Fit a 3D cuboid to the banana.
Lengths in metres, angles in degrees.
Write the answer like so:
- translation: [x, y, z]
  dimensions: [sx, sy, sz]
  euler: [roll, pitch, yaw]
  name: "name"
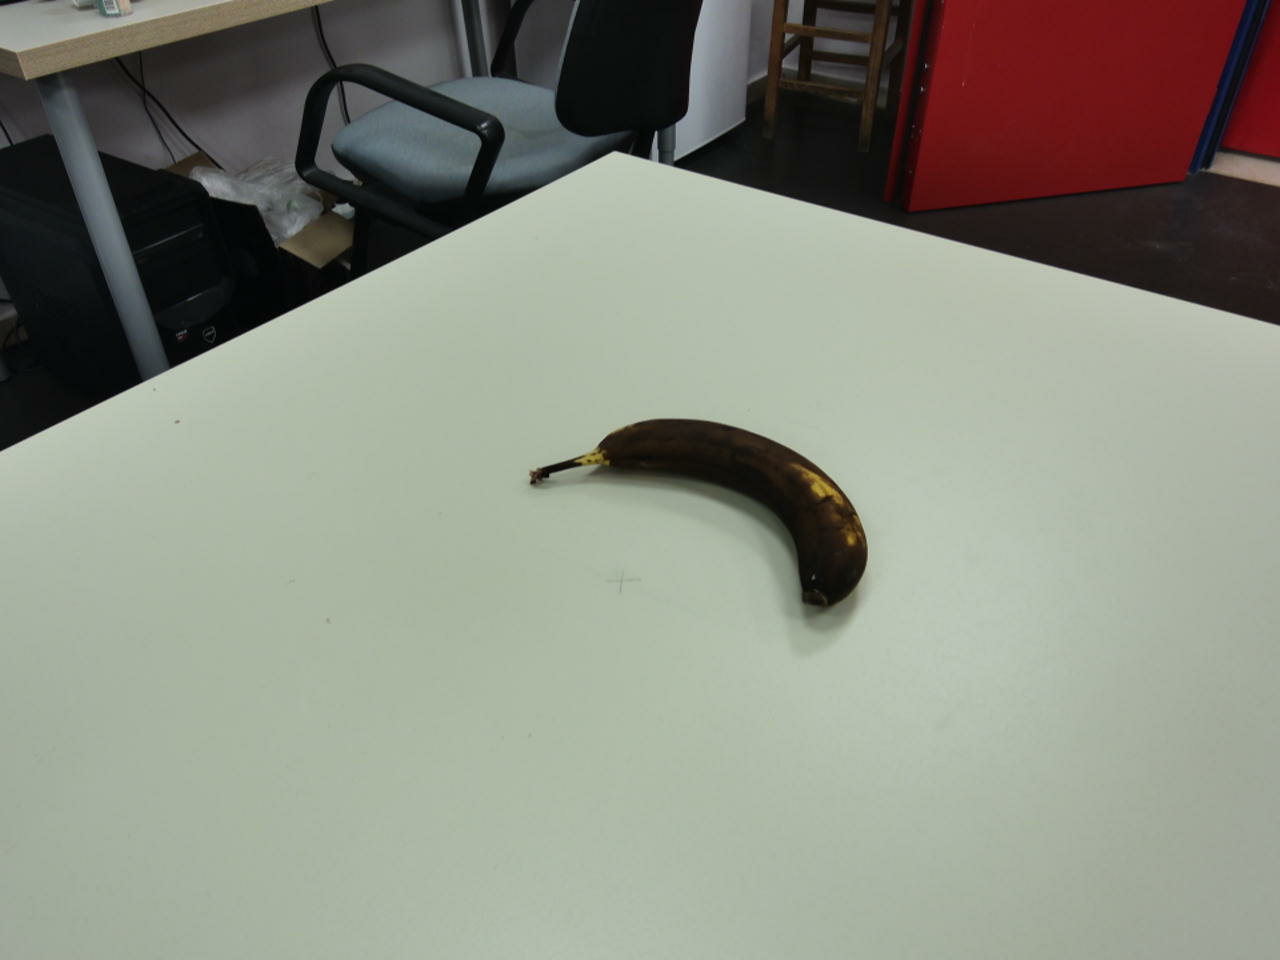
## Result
- translation: [0.040, 0.002, 0.519]
  dimensions: [0.188, 0.034, 0.091]
  euler: [26, 45, 31]
  name: "banana"
